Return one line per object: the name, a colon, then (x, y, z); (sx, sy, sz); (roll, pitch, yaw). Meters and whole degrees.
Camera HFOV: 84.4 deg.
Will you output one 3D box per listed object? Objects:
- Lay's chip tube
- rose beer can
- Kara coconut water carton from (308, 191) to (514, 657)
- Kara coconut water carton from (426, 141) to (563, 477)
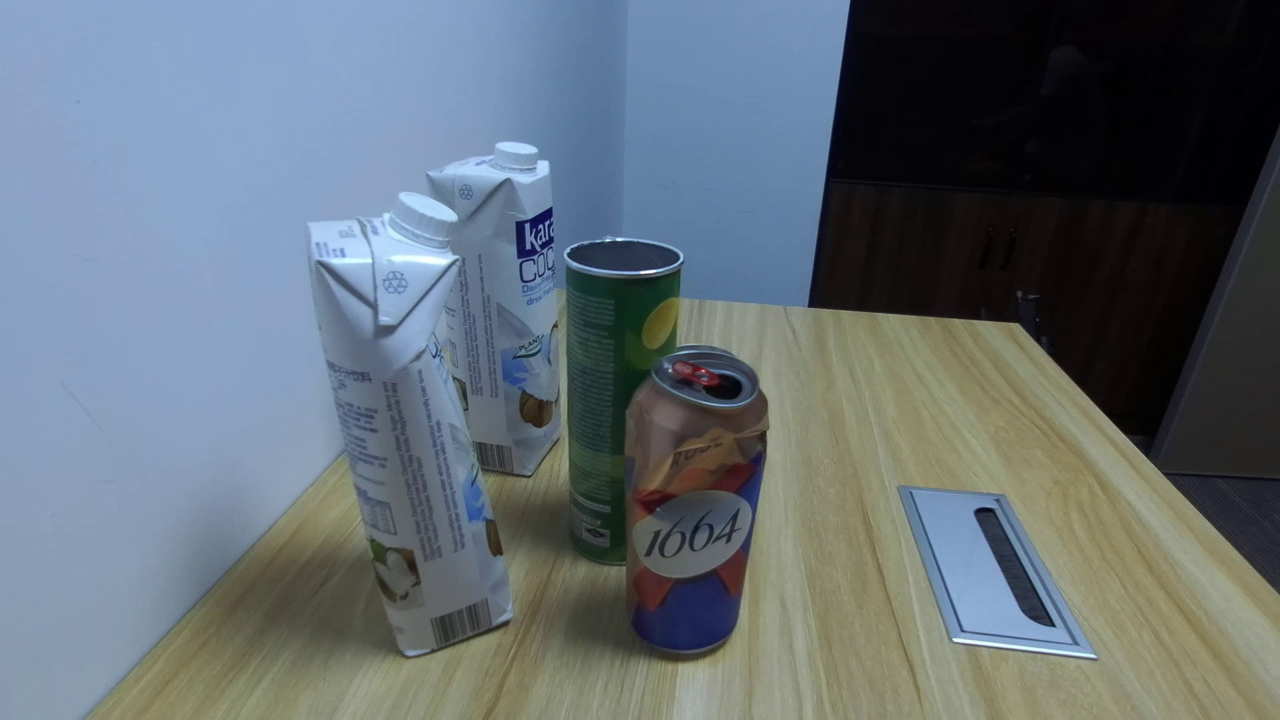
Lay's chip tube: (-0.012, 0.028, 0.452); (0.071, 0.202, 0.071); (2, 27, -1)
rose beer can: (0.029, 0.081, 0.384); (0.076, 0.167, 0.065); (-2, 28, -13)
Kara coconut water carton: (-0.119, 0.037, 0.377); (0.071, 0.244, 0.099); (-12, 30, -22)
Kara coconut water carton: (-0.101, -0.035, 0.532); (0.075, 0.245, 0.077); (8, 25, 18)
